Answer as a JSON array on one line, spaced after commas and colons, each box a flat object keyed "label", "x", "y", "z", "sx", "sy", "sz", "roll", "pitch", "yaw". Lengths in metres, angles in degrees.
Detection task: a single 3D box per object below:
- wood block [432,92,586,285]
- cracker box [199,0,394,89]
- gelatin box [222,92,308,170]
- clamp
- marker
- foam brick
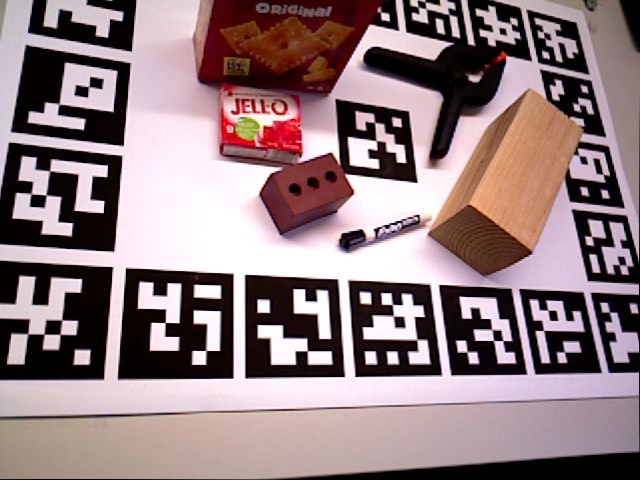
[{"label": "wood block", "x": 0.225, "y": -0.064, "z": 0.640, "sx": 0.090, "sy": 0.093, "sz": 0.202, "roll": 35, "pitch": 61, "yaw": -3}, {"label": "cracker box", "x": -0.018, "y": -0.243, "z": 0.532, "sx": 0.162, "sy": 0.218, "sz": 0.071, "roll": 0, "pitch": 69, "yaw": -23}, {"label": "gelatin box", "x": -0.060, "y": -0.116, "z": 0.585, "sx": 0.088, "sy": 0.031, "sz": 0.073, "roll": 2, "pitch": 73, "yaw": -20}, {"label": "clamp", "x": 0.172, "y": -0.200, "z": 0.694, "sx": 0.199, "sy": 0.037, "sz": 0.165, "roll": -30, "pitch": 85, "yaw": -26}, {"label": "marker", "x": 0.068, "y": -0.001, "z": 0.595, "sx": 0.119, "sy": 0.020, "sz": 0.019, "roll": -17, "pitch": 80, "yaw": -25}, {"label": "foam brick", "x": -0.012, "y": -0.041, "z": 0.562, "sx": 0.076, "sy": 0.052, "sz": 0.053, "roll": -23, "pitch": 82, "yaw": -26}]
